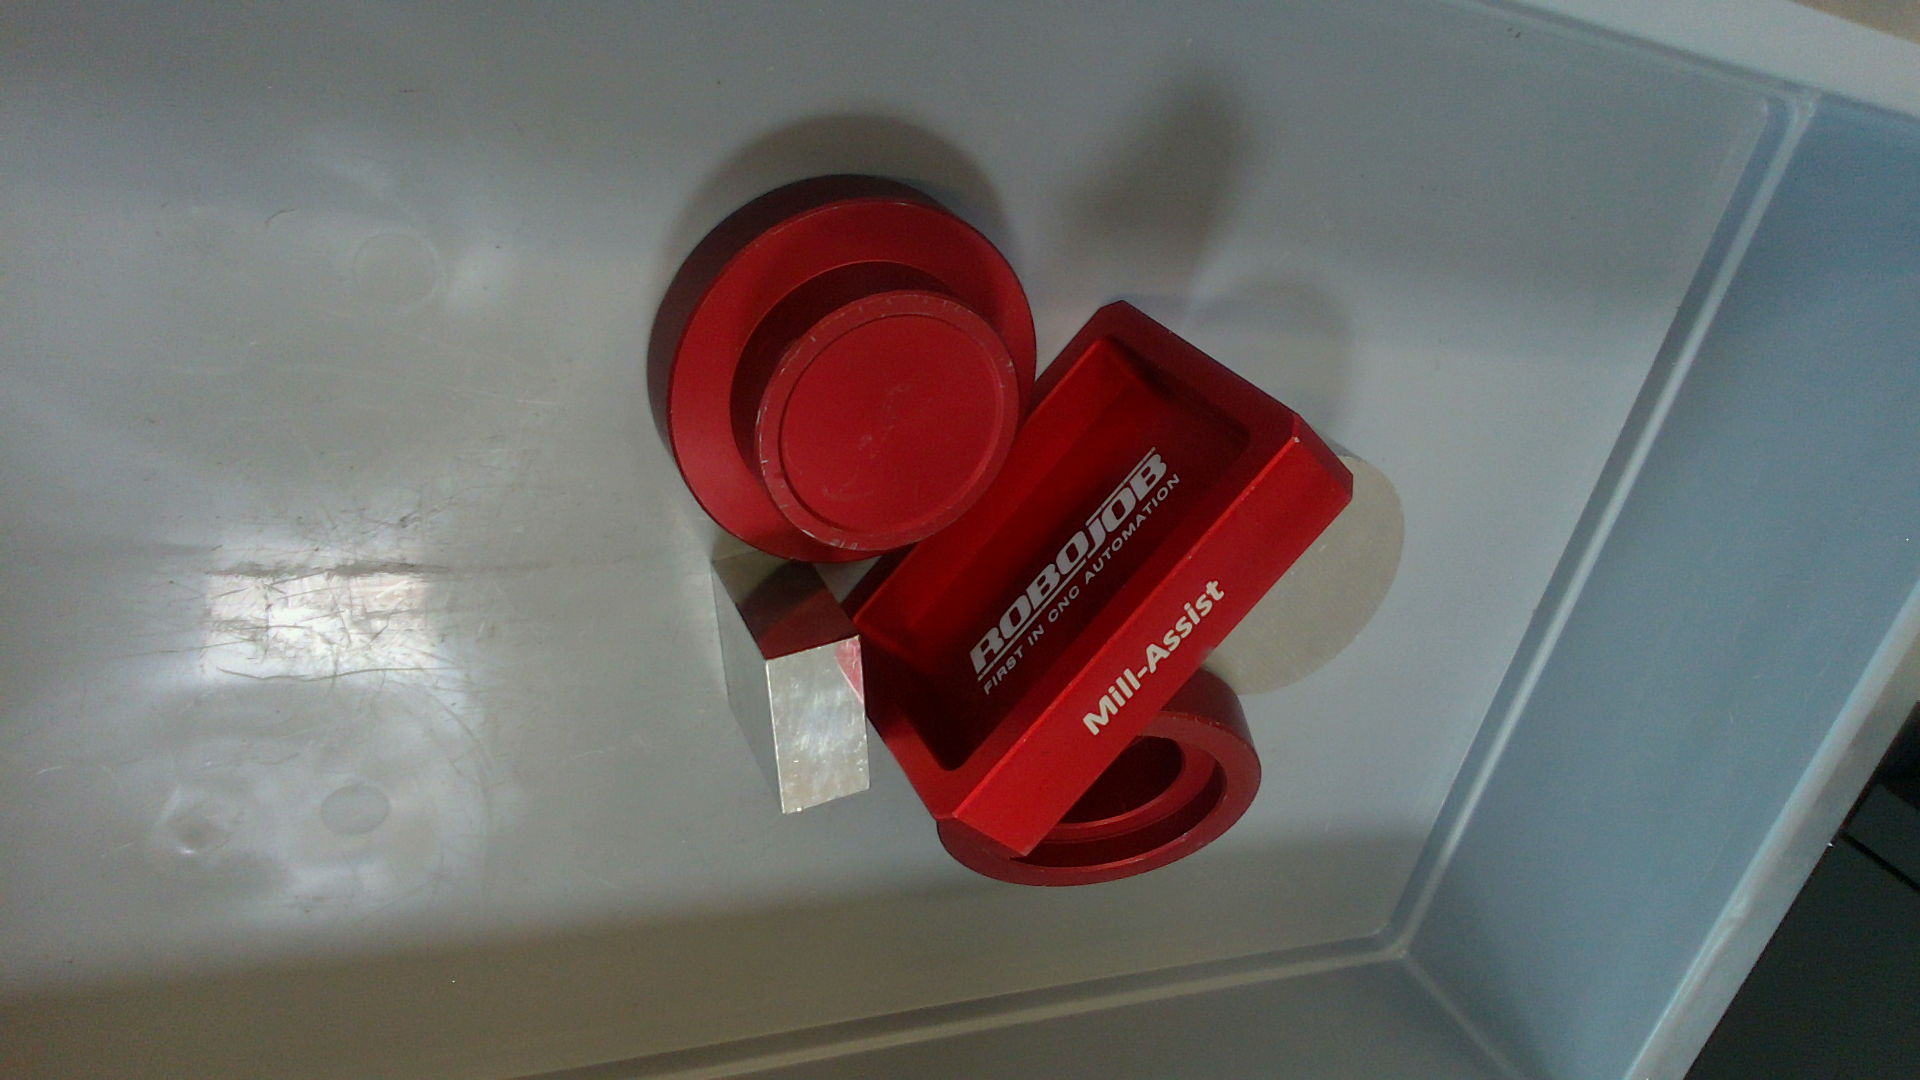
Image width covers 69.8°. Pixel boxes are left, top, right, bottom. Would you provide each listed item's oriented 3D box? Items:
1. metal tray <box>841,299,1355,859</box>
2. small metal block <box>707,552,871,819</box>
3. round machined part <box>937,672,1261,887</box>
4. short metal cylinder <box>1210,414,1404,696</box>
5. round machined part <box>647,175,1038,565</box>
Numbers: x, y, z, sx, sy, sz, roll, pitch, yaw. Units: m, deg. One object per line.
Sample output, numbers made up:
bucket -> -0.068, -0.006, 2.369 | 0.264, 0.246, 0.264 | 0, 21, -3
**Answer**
metal tray -> 0.028, 0.007, 0.365 | 0.130, 0.090, 0.030 | -48, 129, 6
small metal block -> -0.046, 0.037, 0.368 | 0.025, 0.050, 0.050 | -14, 124, -20
round machined part -> 0.039, 0.064, 0.422 | 0.098, 0.042, 0.098 | -6, 139, -5
short metal cylinder -> 0.086, 0.000, 0.418 | 0.080, 0.050, 0.080 | -14, 124, -21
round machined part -> -0.024, -0.036, 0.341 | 0.098, 0.042, 0.098 | -14, 124, -21
